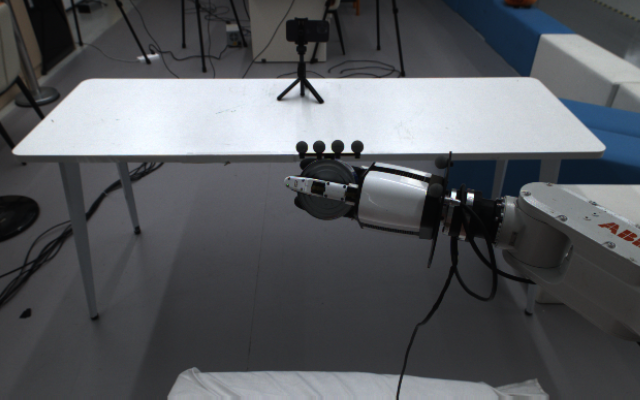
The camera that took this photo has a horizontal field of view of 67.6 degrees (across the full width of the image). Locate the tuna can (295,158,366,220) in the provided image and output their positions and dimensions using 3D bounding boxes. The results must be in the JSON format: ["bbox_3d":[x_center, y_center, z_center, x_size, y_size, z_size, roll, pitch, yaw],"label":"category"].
[{"bbox_3d":[0.014,-0.016,0.681,0.085,0.085,0.034,12,8,14],"label":"tuna can"}]
